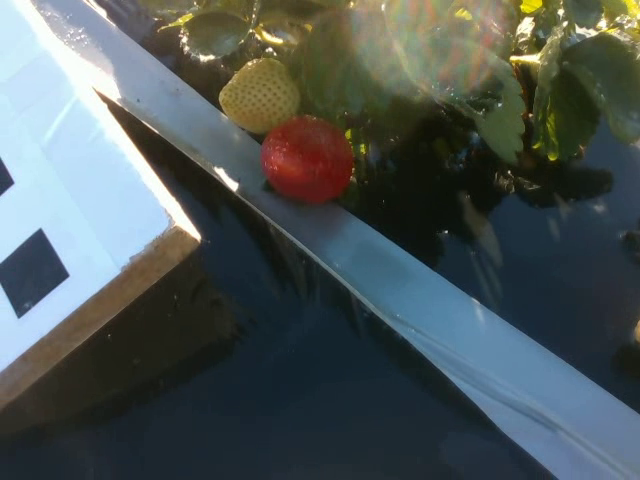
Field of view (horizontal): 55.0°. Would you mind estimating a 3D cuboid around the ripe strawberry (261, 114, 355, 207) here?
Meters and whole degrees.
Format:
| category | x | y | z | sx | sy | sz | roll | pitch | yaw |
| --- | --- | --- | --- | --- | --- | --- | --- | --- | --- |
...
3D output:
| category | x | y | z | sx | sy | sz | roll | pitch | yaw |
| --- | --- | --- | --- | --- | --- | --- | --- | --- | --- |
| ripe strawberry | -0.008 | -0.035 | 0.263 | 0.045 | 0.049 | 0.064 | -19 | 6 | 13 |
